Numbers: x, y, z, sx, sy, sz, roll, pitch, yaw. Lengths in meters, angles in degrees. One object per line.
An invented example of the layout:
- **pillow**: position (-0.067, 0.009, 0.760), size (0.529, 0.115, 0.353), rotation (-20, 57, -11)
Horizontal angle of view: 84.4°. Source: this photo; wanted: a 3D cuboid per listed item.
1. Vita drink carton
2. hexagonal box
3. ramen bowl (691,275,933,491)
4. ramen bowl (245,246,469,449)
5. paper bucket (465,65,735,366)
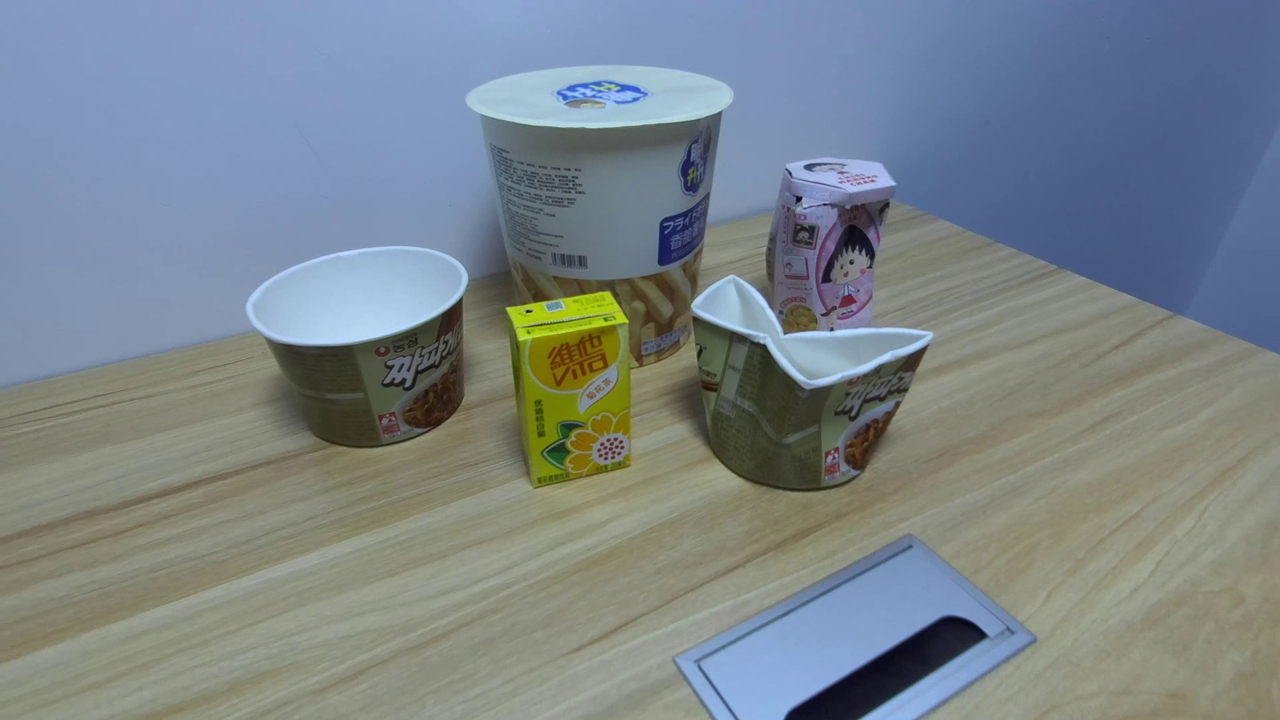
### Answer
- **Vita drink carton**: position (-0.042, 0.018, 0.435), size (0.067, 0.109, 0.043), rotation (-11, 35, -16)
- **hexagonal box**: position (0.149, -0.087, 0.572), size (0.091, 0.134, 0.090), rotation (6, 30, 11)
- **ramen bowl**: position (0.096, 0.011, 0.456), size (0.112, 0.093, 0.127), rotation (-22, 39, -29)
- **ramen bowl**: position (-0.186, -0.008, 0.498), size (0.140, 0.095, 0.140), rotation (0, 33, 0)
- **paper bucket**: position (-0.027, -0.110, 0.554), size (0.198, 0.195, 0.198), rotation (0, 33, 0)
